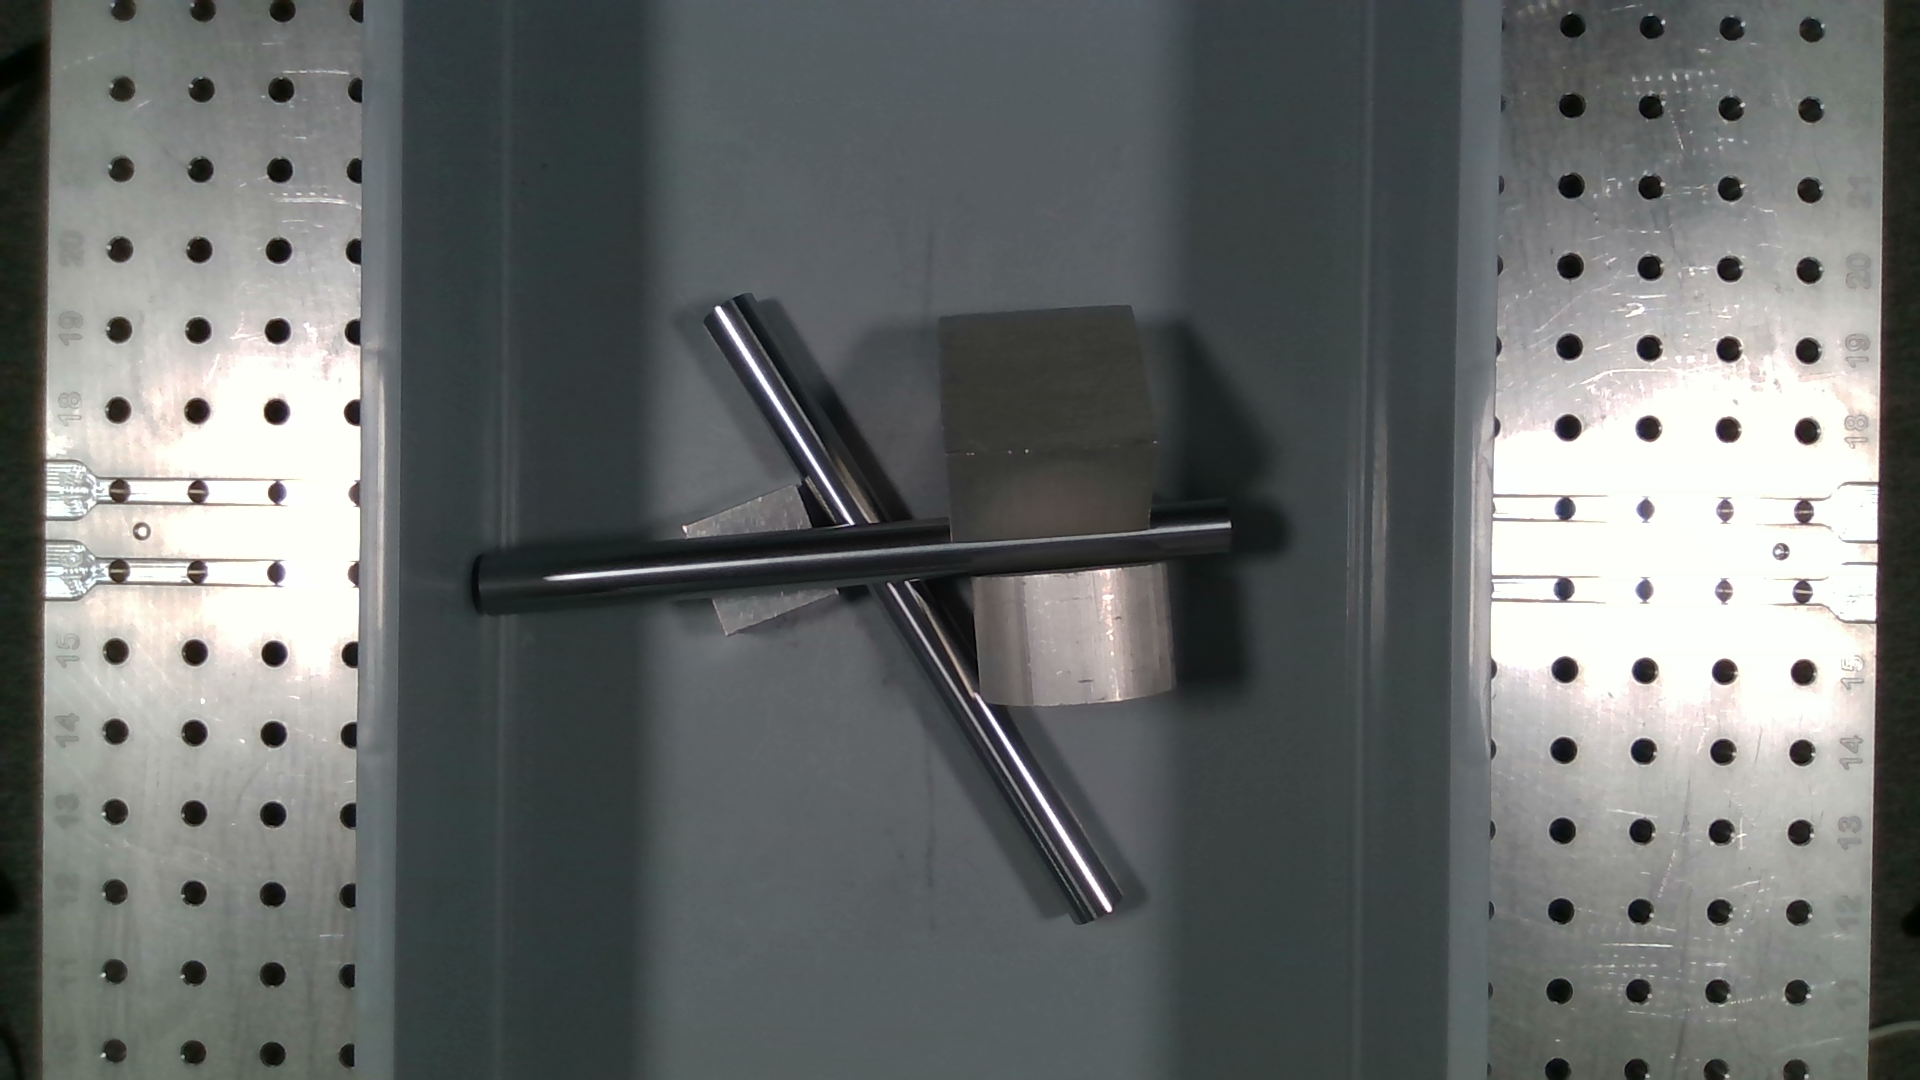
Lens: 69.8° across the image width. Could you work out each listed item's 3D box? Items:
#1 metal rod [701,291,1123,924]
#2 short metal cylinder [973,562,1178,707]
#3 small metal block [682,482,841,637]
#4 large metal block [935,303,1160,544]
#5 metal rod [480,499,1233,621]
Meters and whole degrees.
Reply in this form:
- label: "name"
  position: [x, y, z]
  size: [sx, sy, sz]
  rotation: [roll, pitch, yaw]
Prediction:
- label: "metal rod"
  position: [-0.020, 0.029, 0.585]
  size: [0.025, 0.025, 0.300]
  rotation: [-32, 90, 0]
- label: "short metal cylinder"
  position: [0.046, 0.036, 0.558]
  size: [0.080, 0.080, 0.050]
  rotation: [-4, 92, 0]
- label: "small metal block"
  position: [-0.084, 0.008, 0.586]
  size: [0.050, 0.025, 0.050]
  rotation: [-21, 90, 0]
- label: "large metal block"
  position: [0.033, -0.048, 0.554]
  size: [0.080, 0.050, 0.080]
  rotation: [-4, 50, 0]
- label: "metal rod"
  position: [-0.041, 0.008, 0.560]
  size: [0.300, 0.025, 0.025]
  rotation: [-5, 90, -1]
